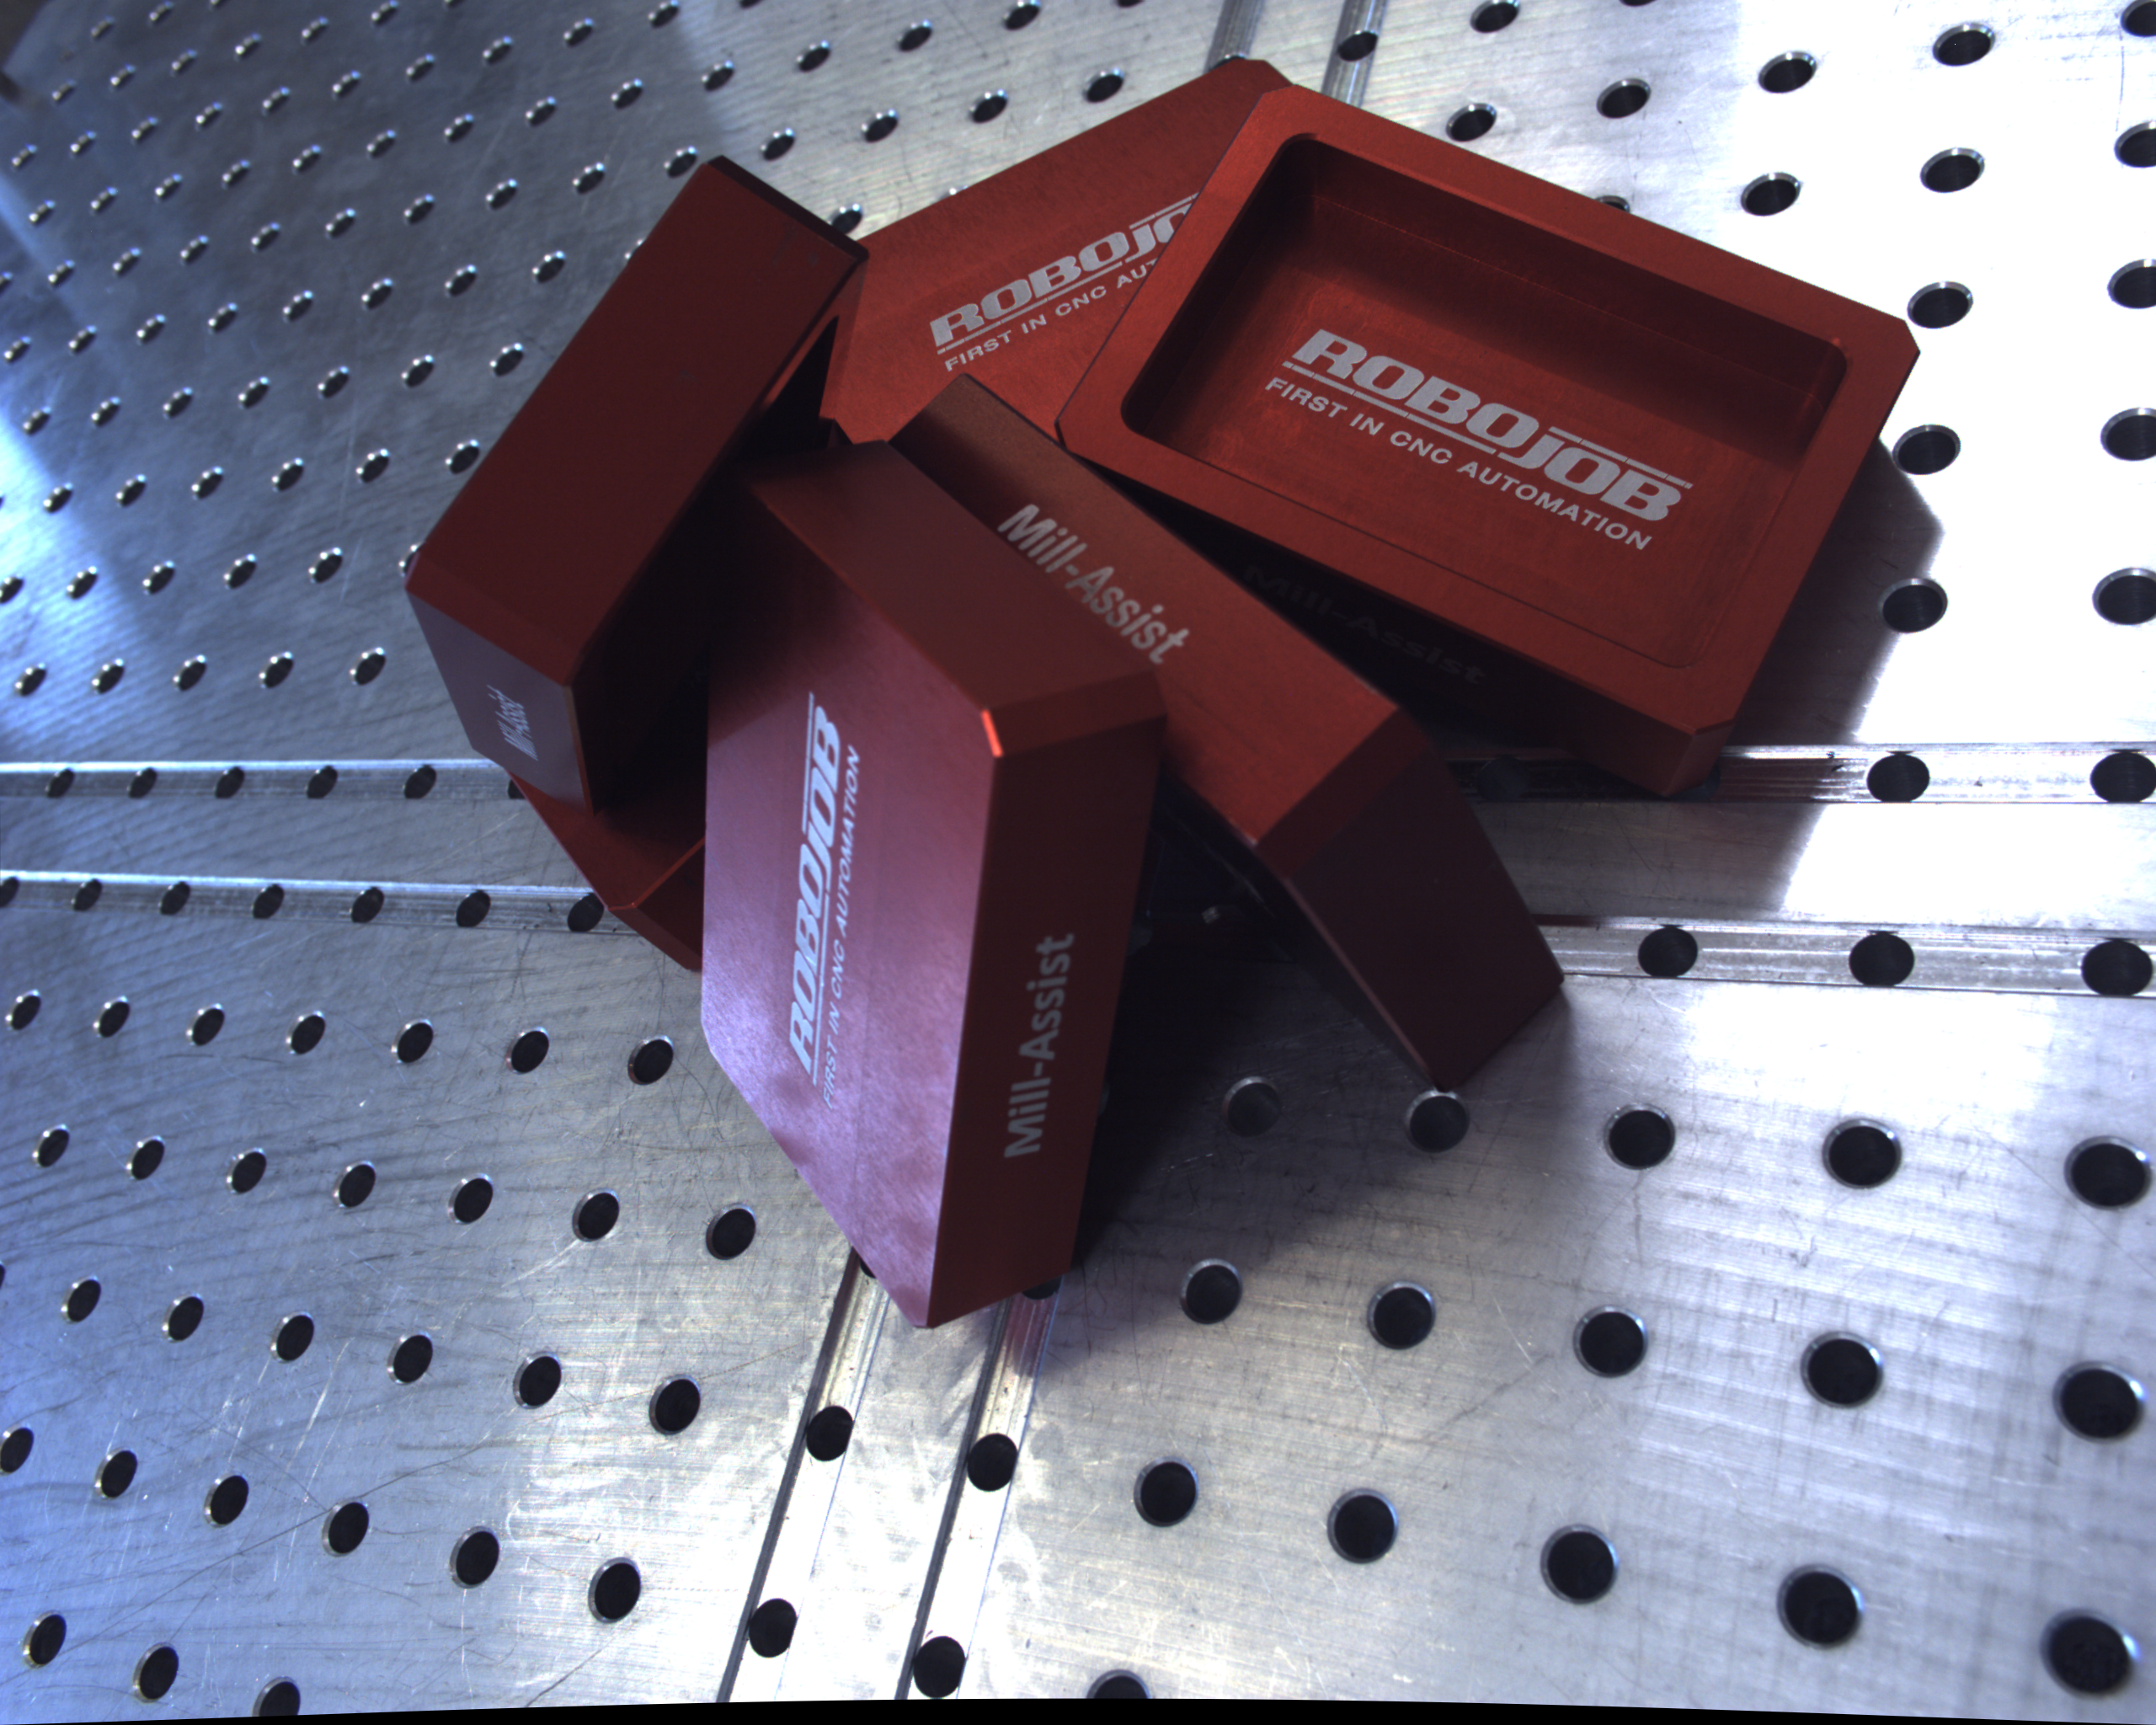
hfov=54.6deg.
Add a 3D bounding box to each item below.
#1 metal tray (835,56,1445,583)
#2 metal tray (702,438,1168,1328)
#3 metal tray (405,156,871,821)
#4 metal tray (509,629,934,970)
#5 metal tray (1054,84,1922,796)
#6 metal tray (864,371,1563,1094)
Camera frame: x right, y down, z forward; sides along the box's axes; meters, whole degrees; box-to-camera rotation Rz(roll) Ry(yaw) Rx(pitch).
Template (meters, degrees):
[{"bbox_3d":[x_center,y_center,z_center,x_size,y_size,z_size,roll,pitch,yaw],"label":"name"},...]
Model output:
[{"bbox_3d":[0.007,-0.116,0.450,0.131,0.030,0.090,-29,54,-8],"label":"metal tray"},{"bbox_3d":[-0.031,0.005,0.361,0.030,0.129,0.090,-16,43,-30],"label":"metal tray"},{"bbox_3d":[-0.081,-0.063,0.393,0.030,0.130,0.090,33,76,-5],"label":"metal tray"},{"bbox_3d":[-0.066,-0.050,0.471,0.130,0.030,0.090,-43,52,-2],"label":"metal tray"},{"bbox_3d":[0.073,-0.080,0.385,0.130,0.030,0.090,27,75,14],"label":"metal tray"},{"bbox_3d":[0.021,-0.024,0.370,0.030,0.090,0.130,-44,51,-2],"label":"metal tray"}]
